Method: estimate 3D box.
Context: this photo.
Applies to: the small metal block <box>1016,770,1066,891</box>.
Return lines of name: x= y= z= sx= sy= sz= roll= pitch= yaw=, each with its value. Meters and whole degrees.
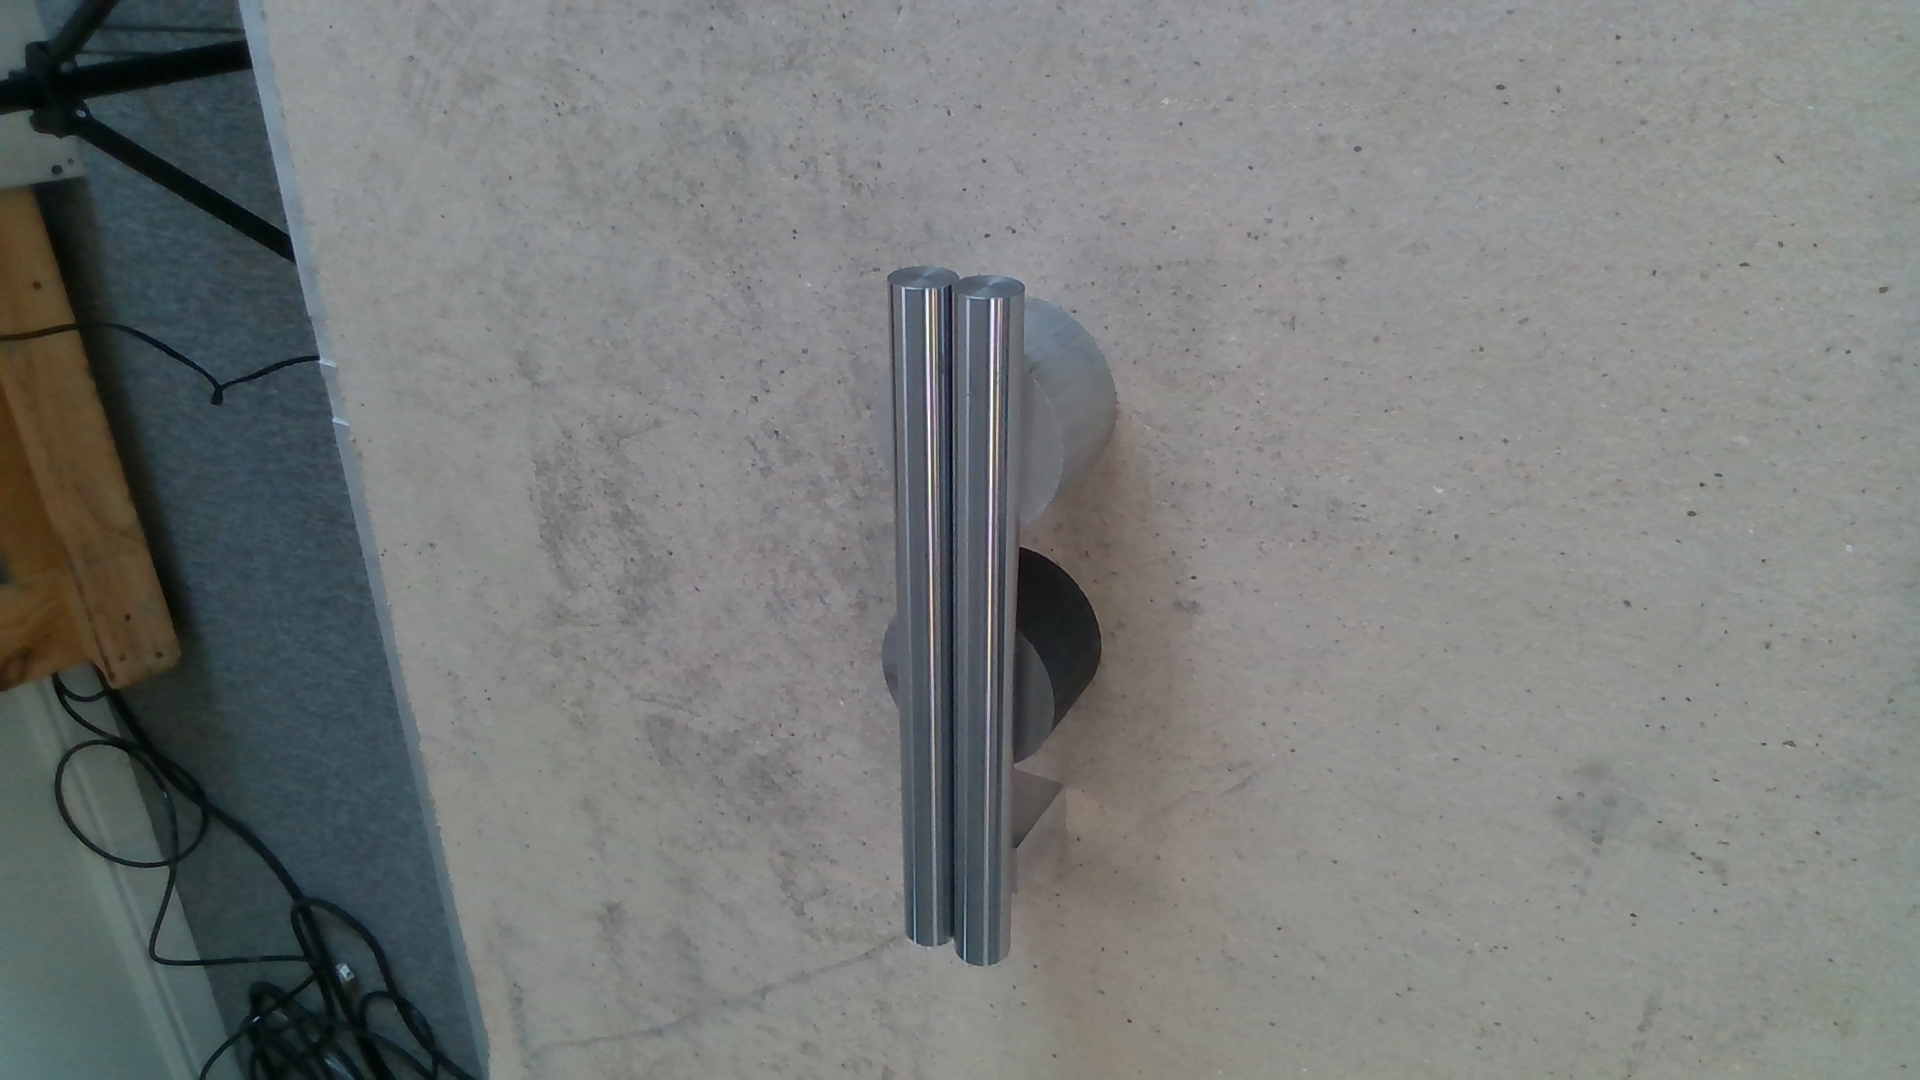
small metal block: x=0.015 y=0.127 z=0.627 sx=0.050 sy=0.050 sz=0.025 roll=12 pitch=121 yaw=25

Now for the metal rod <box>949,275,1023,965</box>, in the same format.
metal rod: x=0.009 y=0.046 z=0.535 sx=0.025 sy=0.025 sz=0.301 roll=14 pitch=122 yaw=25

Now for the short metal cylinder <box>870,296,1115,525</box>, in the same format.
short metal cylinder: x=0.013 y=-0.048 z=0.529 sx=0.080 sy=0.050 sz=0.080 roll=14 pitch=122 yaw=25

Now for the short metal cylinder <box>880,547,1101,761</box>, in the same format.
short metal cylinder: x=0.013 y=0.048 z=0.583 sx=0.080 sy=0.050 sz=0.080 roll=14 pitch=122 yaw=25

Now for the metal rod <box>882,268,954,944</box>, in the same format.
metal rod: x=-0.014 y=0.041 z=0.546 sx=0.025 sy=0.025 sz=0.301 roll=14 pitch=122 yaw=25
